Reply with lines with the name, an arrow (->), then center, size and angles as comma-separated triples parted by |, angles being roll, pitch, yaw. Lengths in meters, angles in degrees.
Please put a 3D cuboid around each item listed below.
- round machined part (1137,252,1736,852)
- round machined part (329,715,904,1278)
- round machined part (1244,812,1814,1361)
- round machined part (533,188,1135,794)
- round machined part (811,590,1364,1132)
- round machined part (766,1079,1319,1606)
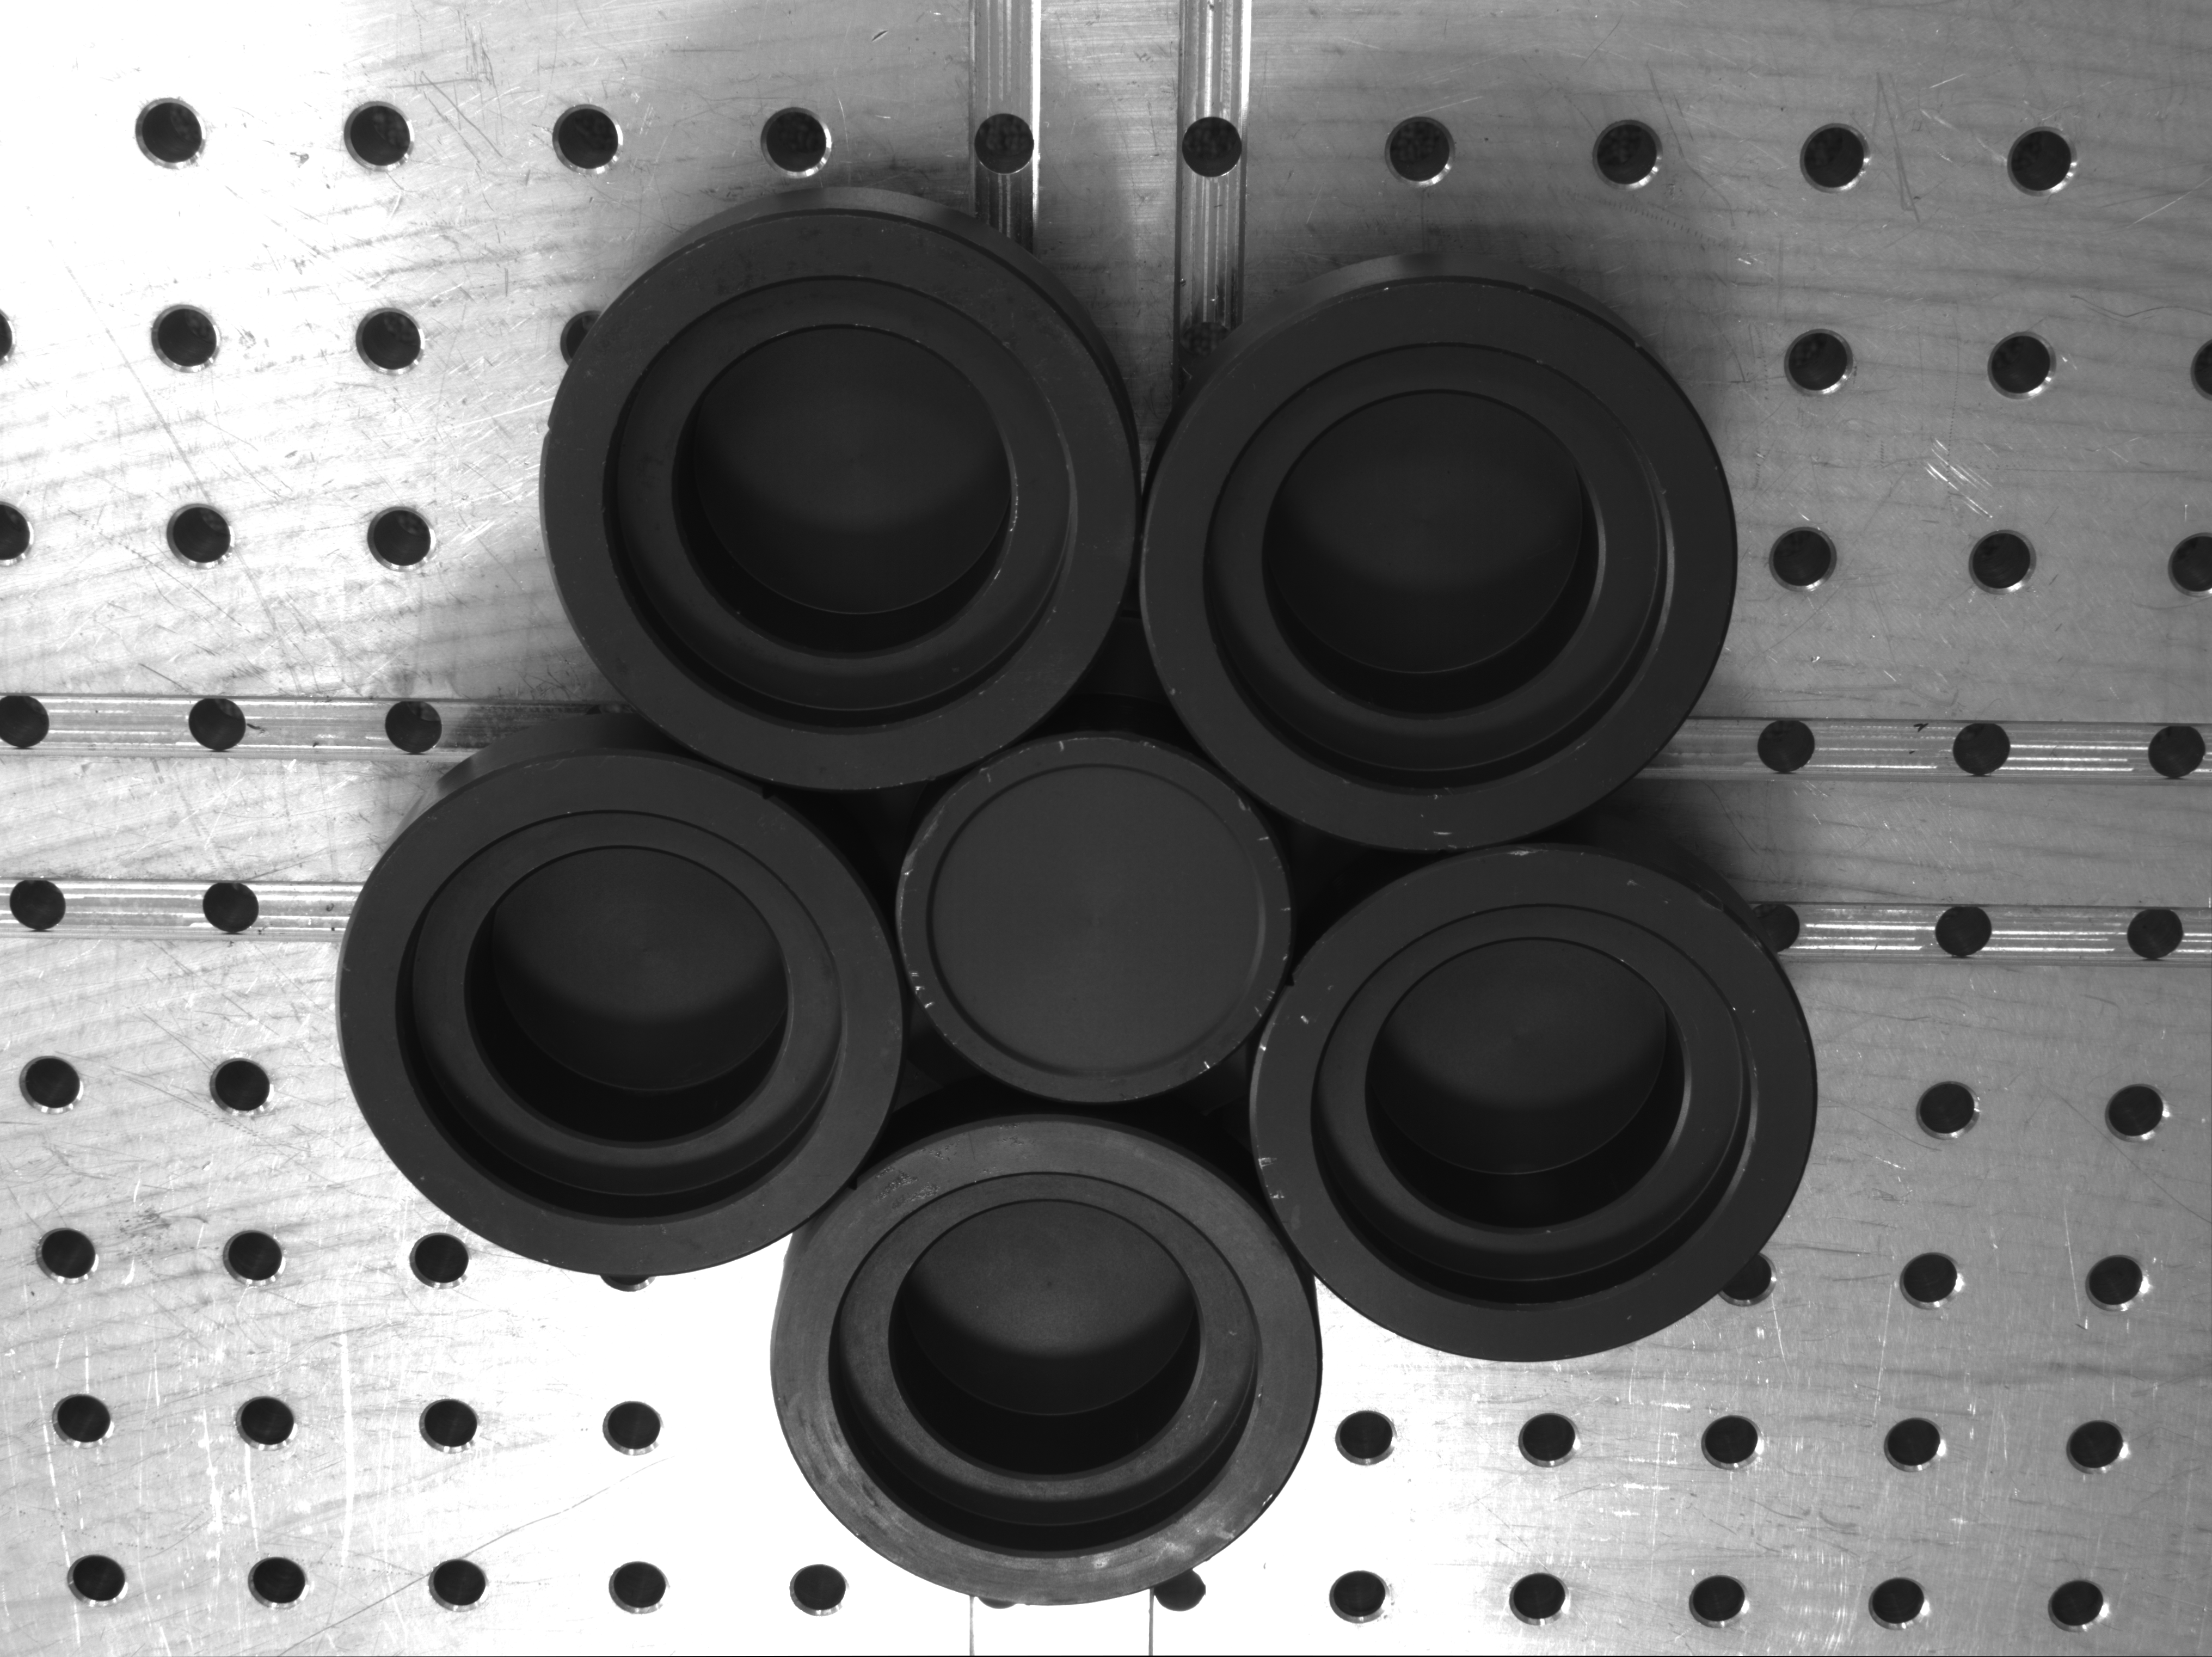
round machined part -> 0.054, -0.049, 0.620 | 0.098, 0.042, 0.098 | 0, 110, 0
round machined part -> -0.084, 0.026, 0.646 | 0.098, 0.042, 0.098 | 0, 110, 0
round machined part -> 0.074, 0.042, 0.653 | 0.098, 0.042, 0.098 | 0, 110, 0
round machined part -> -0.044, -0.059, 0.616 | 0.098, 0.042, 0.098 | 0, 110, 0
round machined part -> -0.003, 0.009, 0.641 | 0.098, 0.042, 0.098 | 0, 110, 0
round machined part -> -0.011, 0.089, 0.669 | 0.098, 0.042, 0.098 | 0, 110, 0
